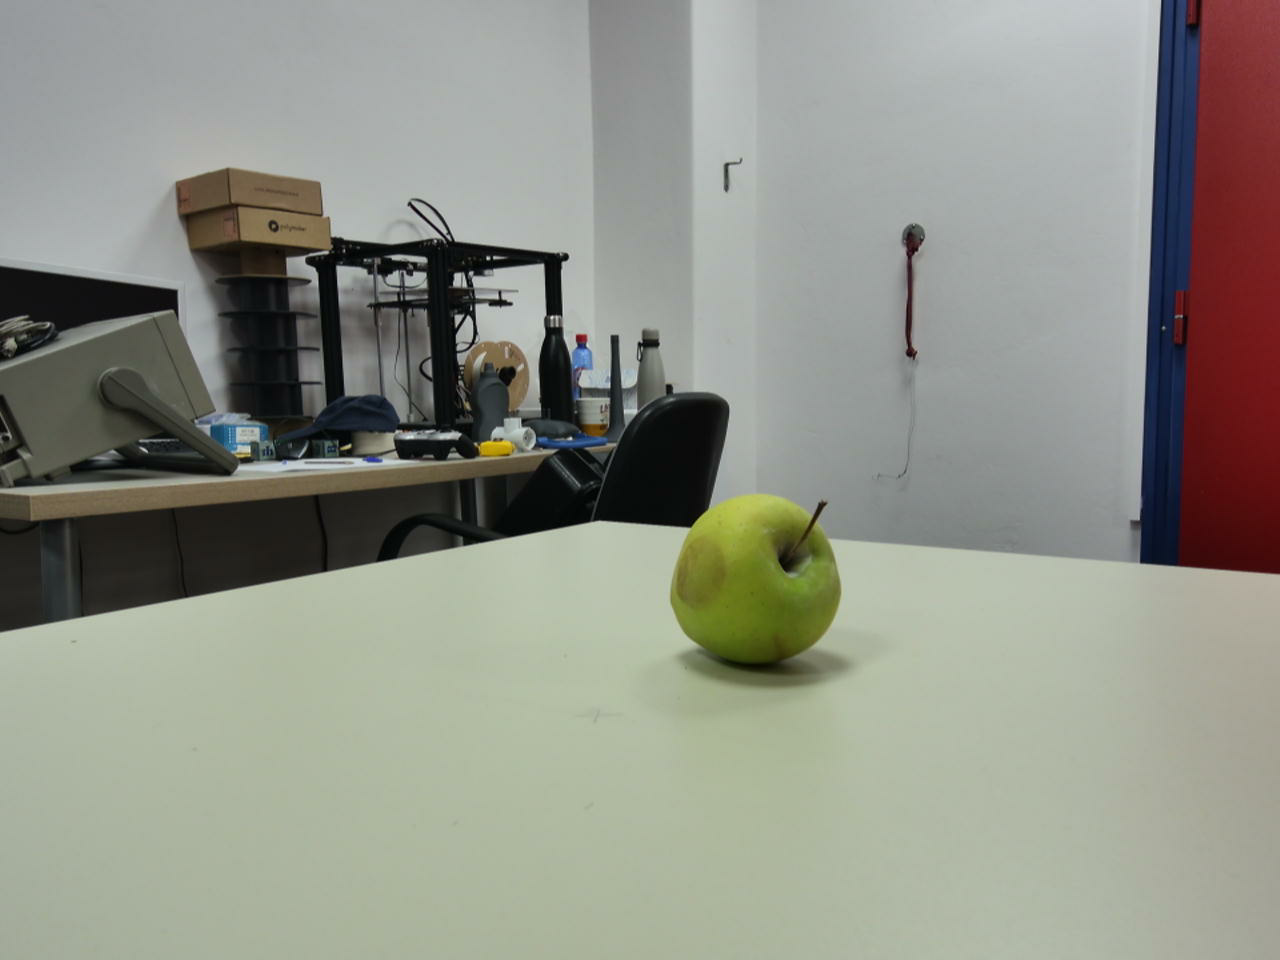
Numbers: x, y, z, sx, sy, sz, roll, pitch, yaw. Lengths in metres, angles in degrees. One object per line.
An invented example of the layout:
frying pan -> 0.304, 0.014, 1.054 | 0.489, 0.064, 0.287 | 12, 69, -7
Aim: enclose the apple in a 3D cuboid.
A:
apple -> 0.052, 0.044, 0.453 | 0.072, 0.075, 0.077 | -1, 3, -9
